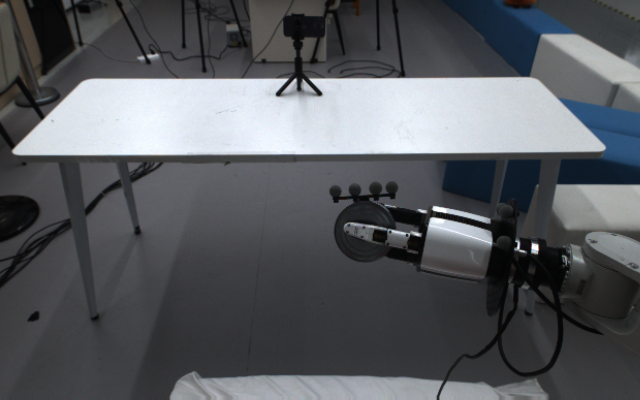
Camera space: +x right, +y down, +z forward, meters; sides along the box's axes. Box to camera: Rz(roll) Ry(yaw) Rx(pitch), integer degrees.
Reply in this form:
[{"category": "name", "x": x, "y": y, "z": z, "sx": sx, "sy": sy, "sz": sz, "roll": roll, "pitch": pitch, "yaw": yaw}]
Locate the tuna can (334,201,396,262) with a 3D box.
[{"category": "tuna can", "x": 0.066, "y": 0.043, "z": 0.681, "sx": 0.085, "sy": 0.085, "sz": 0.034, "roll": 10, "pitch": 2, "yaw": 12}]
